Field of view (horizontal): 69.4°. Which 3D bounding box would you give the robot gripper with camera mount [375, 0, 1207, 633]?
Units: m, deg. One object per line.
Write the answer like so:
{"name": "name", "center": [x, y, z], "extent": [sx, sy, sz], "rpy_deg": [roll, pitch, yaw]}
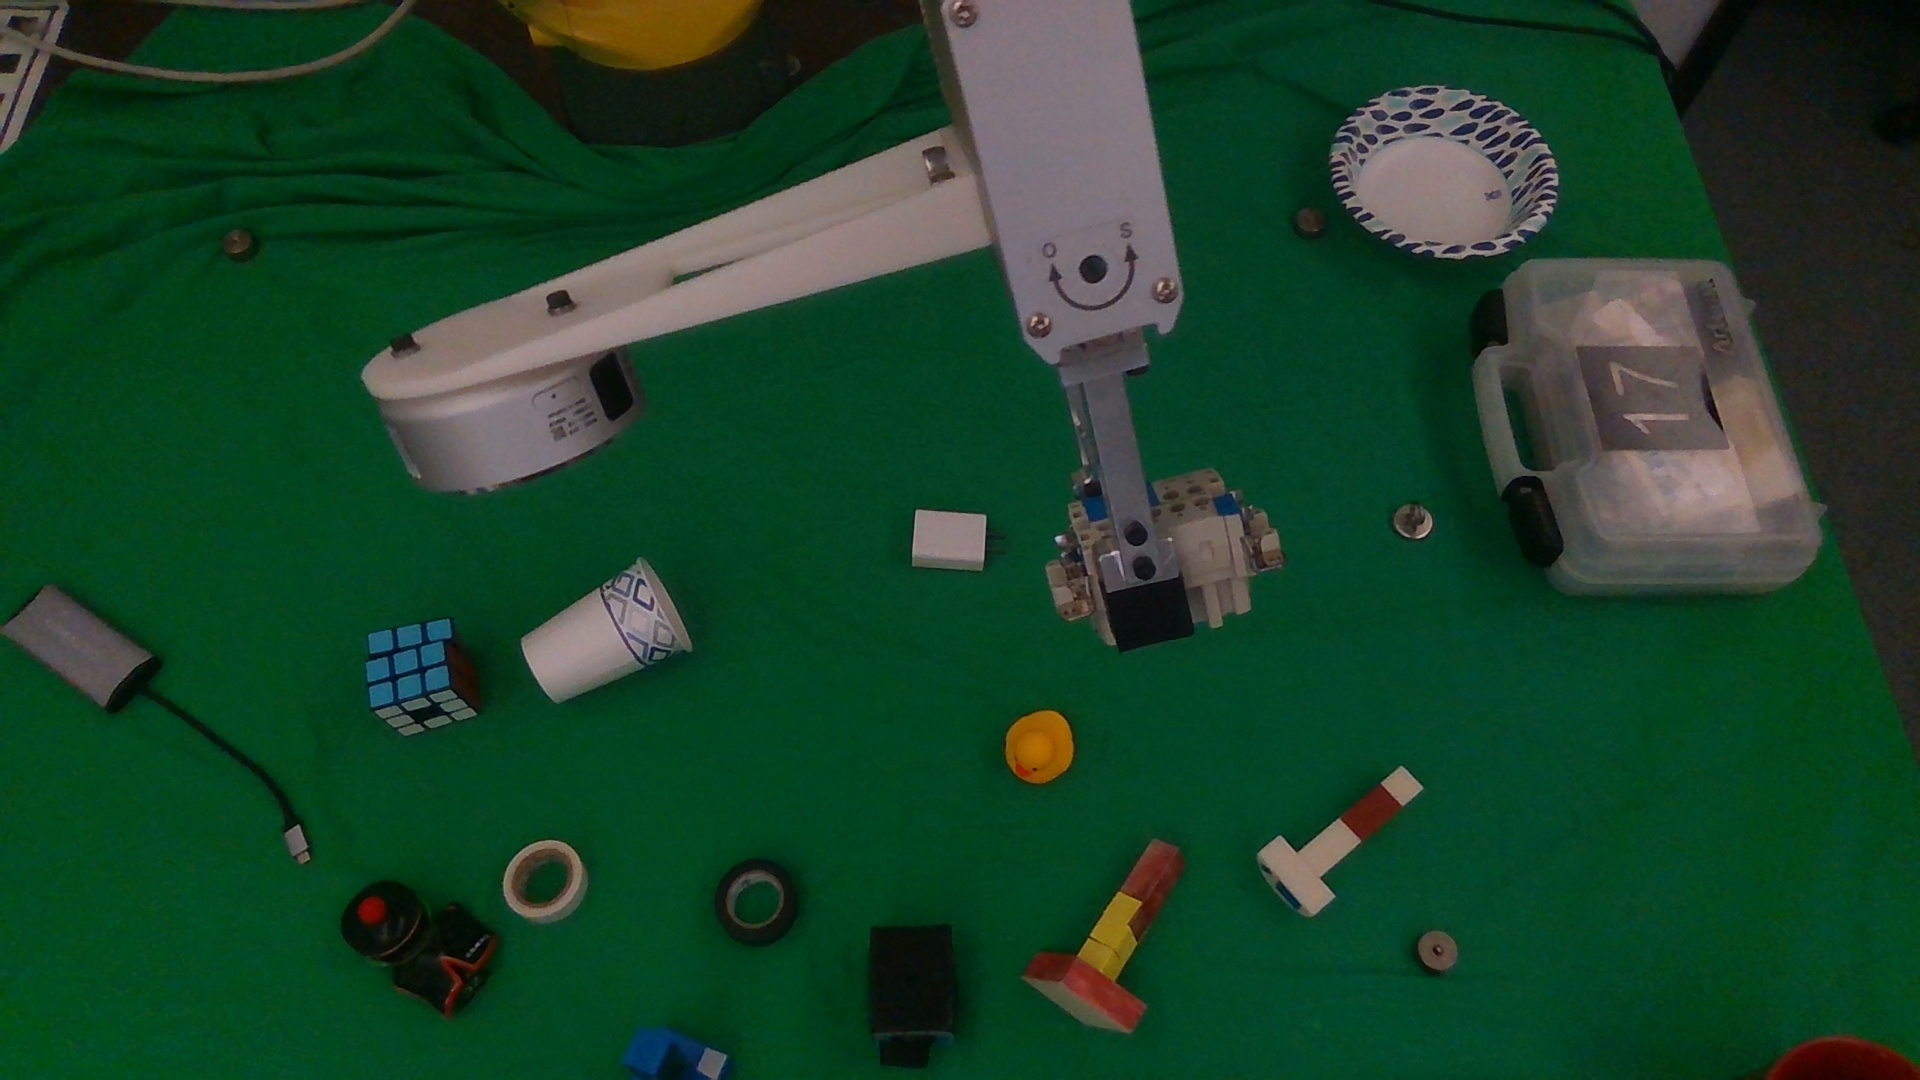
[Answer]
{"name": "robot gripper with camera mount", "center": [-0.041, -0.028, 0.355], "extent": [0.193, 0.158, 0.119], "rpy_deg": [-18, 29, -2]}

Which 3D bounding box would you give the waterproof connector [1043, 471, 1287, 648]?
{"name": "waterproof connector", "center": [0.057, 0.006, 0.393], "extent": [0.065, 0.037, 0.035], "rpy_deg": [-14, 23, 1]}
